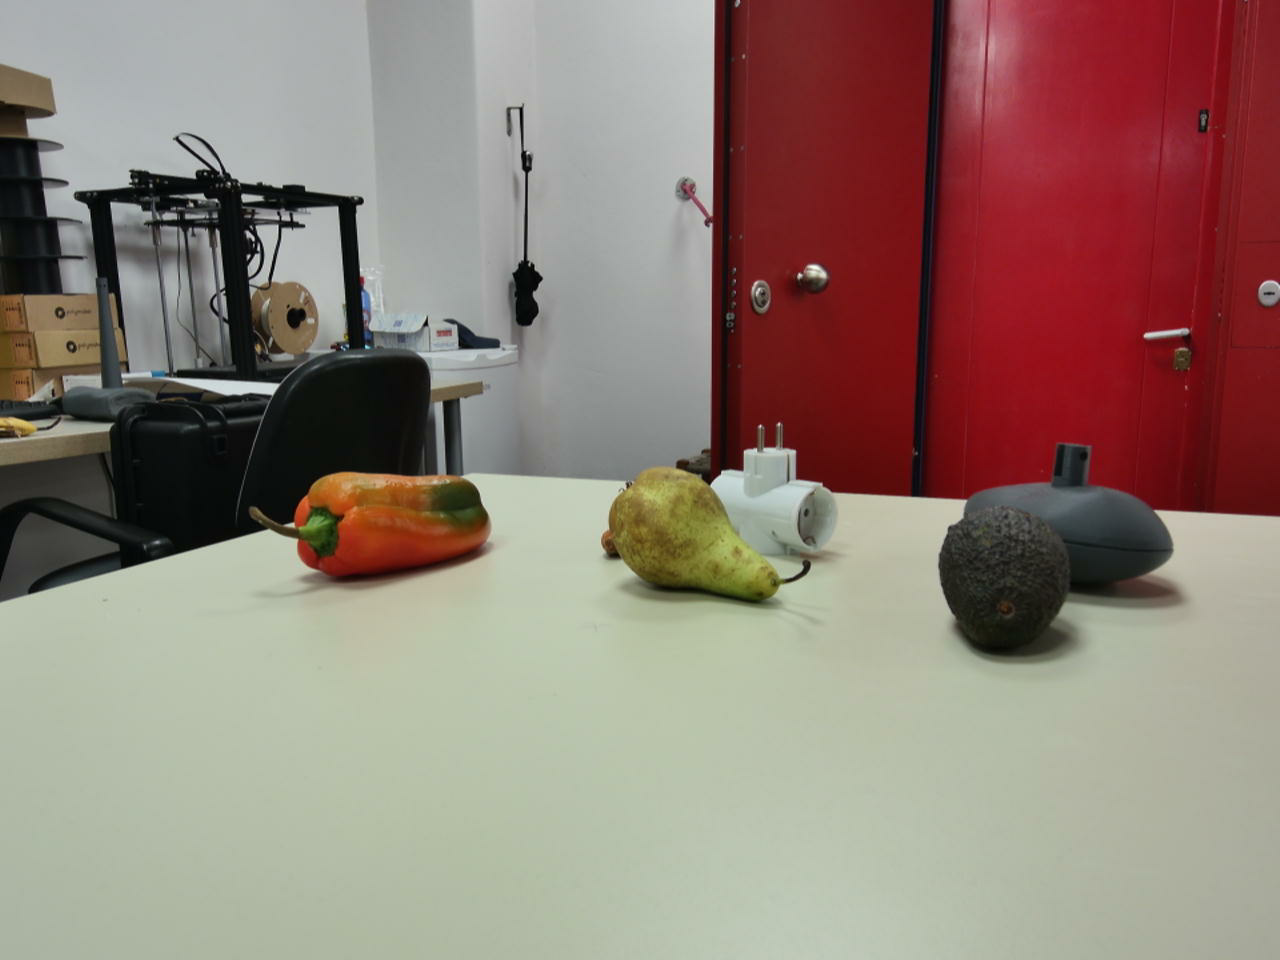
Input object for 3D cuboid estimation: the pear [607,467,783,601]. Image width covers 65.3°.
[{"bbox_3d":[0.047,0.032,0.614,0.144,0.075,0.071,6,9,30],"label":"pear"}]
